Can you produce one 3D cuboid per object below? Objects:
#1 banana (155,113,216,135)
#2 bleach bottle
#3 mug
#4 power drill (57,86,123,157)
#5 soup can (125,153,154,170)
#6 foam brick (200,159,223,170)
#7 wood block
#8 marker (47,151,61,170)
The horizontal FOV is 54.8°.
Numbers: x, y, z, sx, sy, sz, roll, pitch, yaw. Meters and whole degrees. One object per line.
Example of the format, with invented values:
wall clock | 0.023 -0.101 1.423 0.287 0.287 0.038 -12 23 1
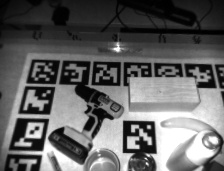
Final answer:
banana | 0.233 0.117 0.669 0.197 0.039 0.074 15 77 5
bleach bottle | 0.195 0.158 0.530 0.067 0.252 0.103 27 64 15
mug | -0.038 0.227 0.584 0.092 0.082 0.117 41 72 17
power drill | -0.082 0.107 0.668 0.183 0.057 0.187 28 64 10
soup can | 0.070 0.217 0.574 0.068 0.102 0.067 1 58 -1
foam brick | 0.274 0.241 0.587 0.052 0.078 0.051 30 64 18
wood block | 0.153 0.027 0.691 0.206 0.091 0.089 -1 63 -1
marker | -0.153 0.245 0.613 0.020 0.020 0.120 -27 67 -11
